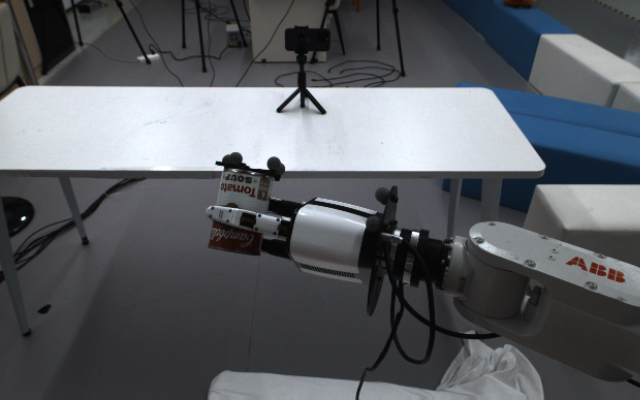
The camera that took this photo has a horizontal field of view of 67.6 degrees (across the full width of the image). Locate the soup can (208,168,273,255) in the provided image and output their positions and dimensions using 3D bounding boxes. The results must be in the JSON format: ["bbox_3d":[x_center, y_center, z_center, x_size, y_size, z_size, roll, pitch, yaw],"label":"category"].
[{"bbox_3d":[-0.100,0.017,0.622,0.067,0.101,0.067,9,-5,1],"label":"soup can"}]
